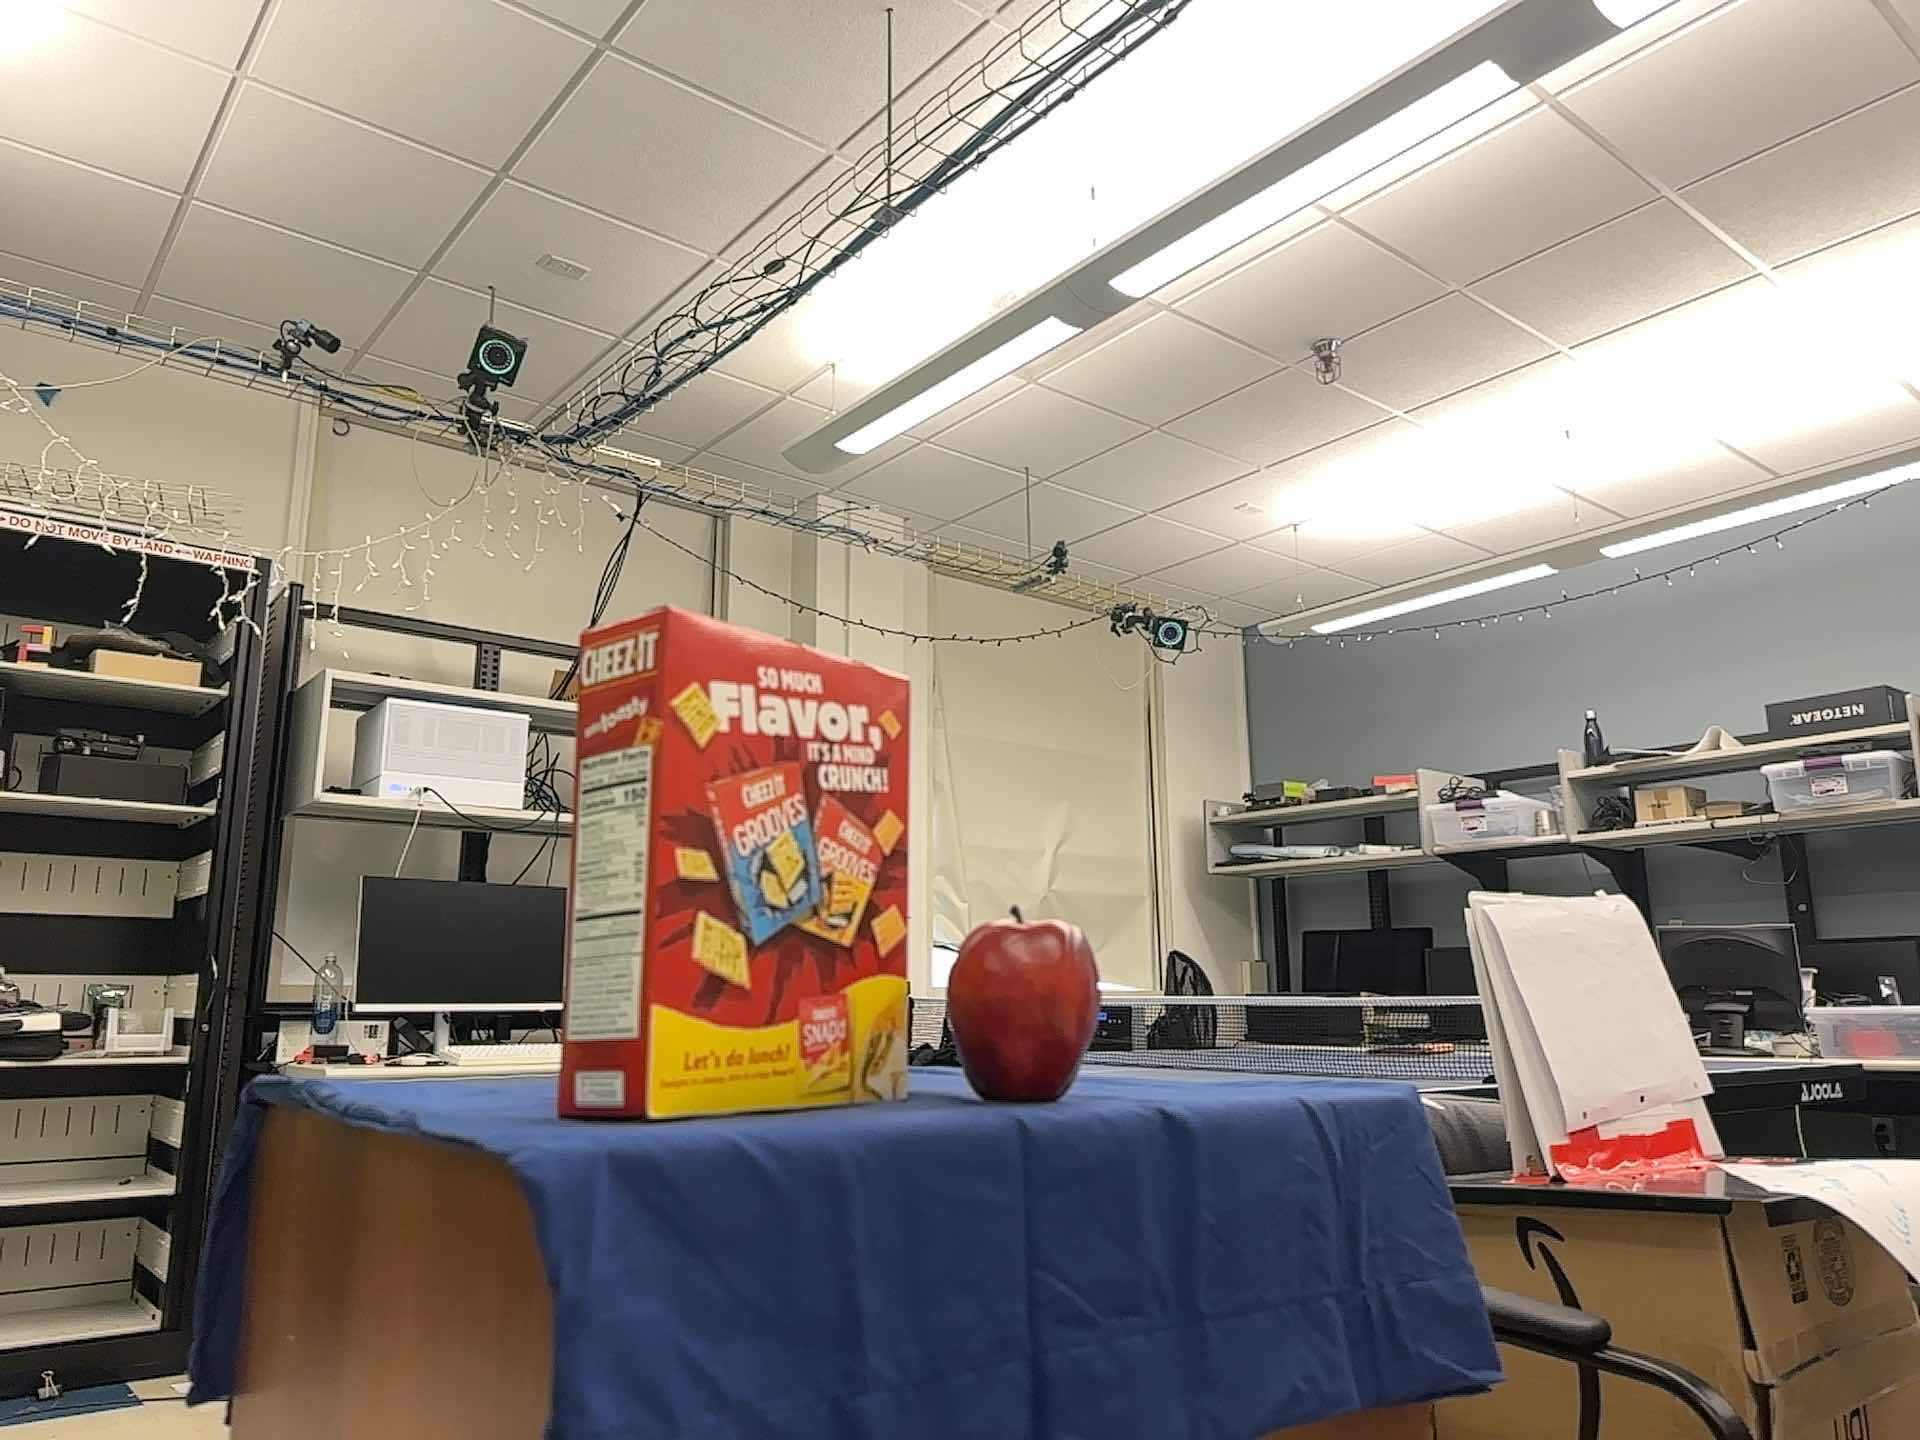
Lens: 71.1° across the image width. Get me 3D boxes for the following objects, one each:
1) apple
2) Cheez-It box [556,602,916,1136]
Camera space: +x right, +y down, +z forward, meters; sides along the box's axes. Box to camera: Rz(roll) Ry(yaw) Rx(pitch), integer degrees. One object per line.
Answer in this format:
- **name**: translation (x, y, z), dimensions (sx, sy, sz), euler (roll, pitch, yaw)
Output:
- **apple**: translation (0.031, 0.142, 0.664), dimensions (0.079, 0.093, 0.079), euler (0, -9, 0)
- **Cheez-It box**: translation (-0.098, 0.073, 0.628), dimensions (0.062, 0.214, 0.159), euler (-7, -14, 35)
